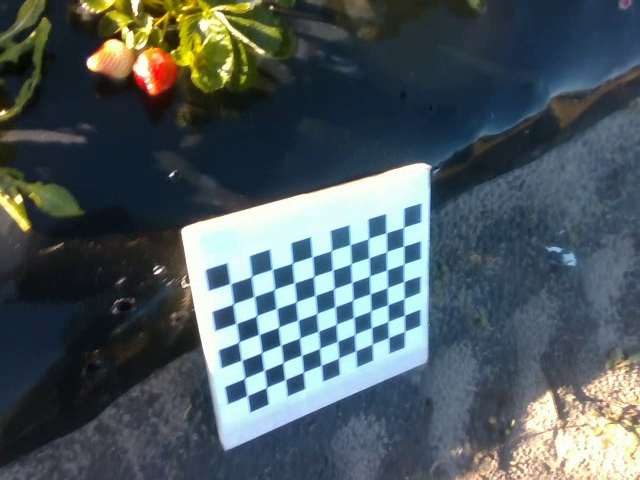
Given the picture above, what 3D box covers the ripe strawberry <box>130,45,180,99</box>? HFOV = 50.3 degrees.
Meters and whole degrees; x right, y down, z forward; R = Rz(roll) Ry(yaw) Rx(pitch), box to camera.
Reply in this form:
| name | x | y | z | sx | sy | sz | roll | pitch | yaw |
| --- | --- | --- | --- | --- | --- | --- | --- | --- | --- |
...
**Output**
| name | x | y | z | sx | sy | sz | roll | pitch | yaw |
| --- | --- | --- | --- | --- | --- | --- | --- | --- | --- |
| ripe strawberry | -0.136 | -0.134 | 0.550 | 0.040 | 0.038 | 0.056 | -18 | 37 | 8 |
